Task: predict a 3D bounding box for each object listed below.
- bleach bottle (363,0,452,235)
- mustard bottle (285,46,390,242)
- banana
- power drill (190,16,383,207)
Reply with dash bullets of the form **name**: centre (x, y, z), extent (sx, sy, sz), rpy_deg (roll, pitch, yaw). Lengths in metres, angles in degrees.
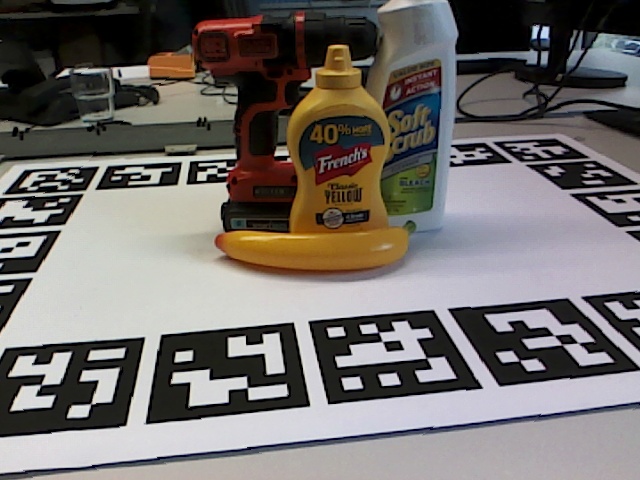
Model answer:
- **bleach bottle**: centre (0.078, -0.132, 0.621), extent (0.102, 0.250, 0.068), rpy_deg (-3, 22, -4)
- **mustard bottle**: centre (0.016, -0.080, 0.573), extent (0.096, 0.191, 0.058), rpy_deg (-3, 27, -6)
- **banana**: centre (0.000, 0.011, 0.583), extent (0.197, 0.039, 0.074), rpy_deg (-4, 28, -1)
- **power drill**: centre (-0.034, -0.127, 0.622), extent (0.185, 0.186, 0.057), rpy_deg (3, 26, 4)
